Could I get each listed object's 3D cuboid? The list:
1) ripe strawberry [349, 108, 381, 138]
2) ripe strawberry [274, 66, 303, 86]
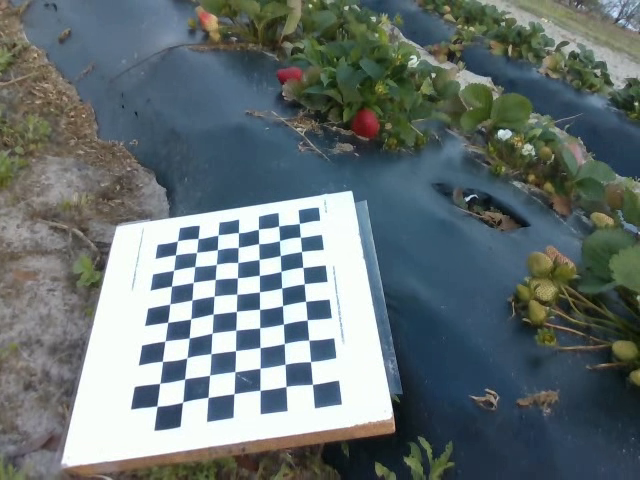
[{"bbox_3d":[0.066,-0.178,0.935,0.043,0.047,0.046,-7,13,-2],"label":"ripe strawberry"},{"bbox_3d":[-0.053,-0.259,1.011,0.050,0.043,0.043,4,36,-29],"label":"ripe strawberry"}]
